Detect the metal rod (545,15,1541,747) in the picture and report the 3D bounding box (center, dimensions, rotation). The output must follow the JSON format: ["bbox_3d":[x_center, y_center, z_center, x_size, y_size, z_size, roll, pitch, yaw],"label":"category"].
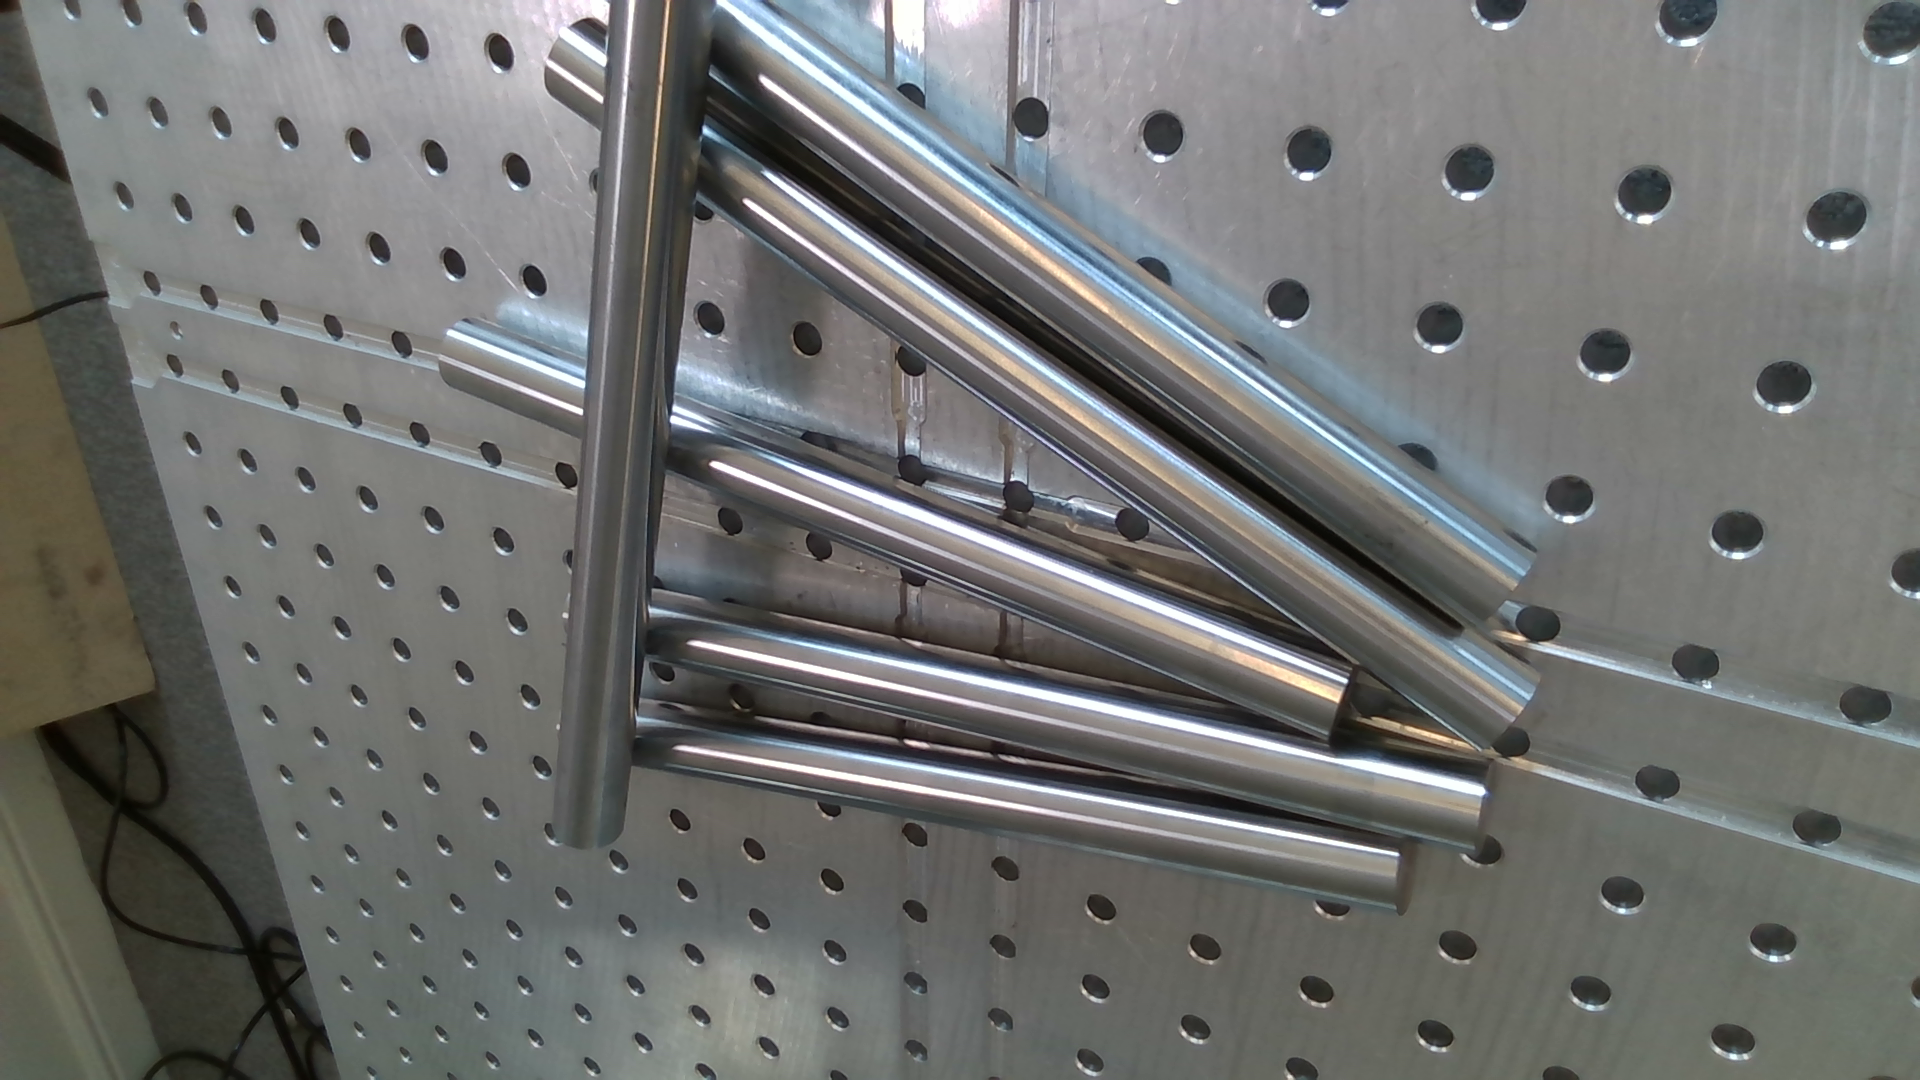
[{"bbox_3d":[0.013,-0.047,0.358,0.300,0.025,0.025,36,128,10],"label":"metal rod"}]

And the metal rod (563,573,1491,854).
[{"bbox_3d":[0.000,0.045,0.416,0.300,0.025,0.025,9,120,27],"label":"metal rod"}]

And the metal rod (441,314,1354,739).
[{"bbox_3d":[-0.032,-0.012,0.405,0.300,0.025,0.025,21,124,20],"label":"metal rod"}]

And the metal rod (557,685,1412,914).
[{"bbox_3d":[-0.011,0.077,0.440,0.300,0.025,0.025,4,117,30],"label":"metal rod"}]

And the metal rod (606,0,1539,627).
[{"bbox_3d":[0.008,-0.080,0.342,0.300,0.025,0.025,37,129,9],"label":"metal rod"}]
